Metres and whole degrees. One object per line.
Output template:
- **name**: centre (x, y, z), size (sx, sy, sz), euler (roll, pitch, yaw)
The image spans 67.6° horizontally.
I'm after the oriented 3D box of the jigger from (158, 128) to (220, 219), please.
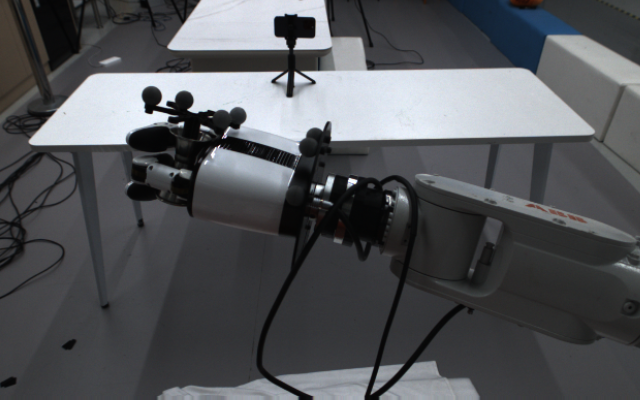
- **jigger**: centre (-0.131, -0.033, 0.484), size (0.043, 0.071, 0.043), euler (15, 17, -5)
